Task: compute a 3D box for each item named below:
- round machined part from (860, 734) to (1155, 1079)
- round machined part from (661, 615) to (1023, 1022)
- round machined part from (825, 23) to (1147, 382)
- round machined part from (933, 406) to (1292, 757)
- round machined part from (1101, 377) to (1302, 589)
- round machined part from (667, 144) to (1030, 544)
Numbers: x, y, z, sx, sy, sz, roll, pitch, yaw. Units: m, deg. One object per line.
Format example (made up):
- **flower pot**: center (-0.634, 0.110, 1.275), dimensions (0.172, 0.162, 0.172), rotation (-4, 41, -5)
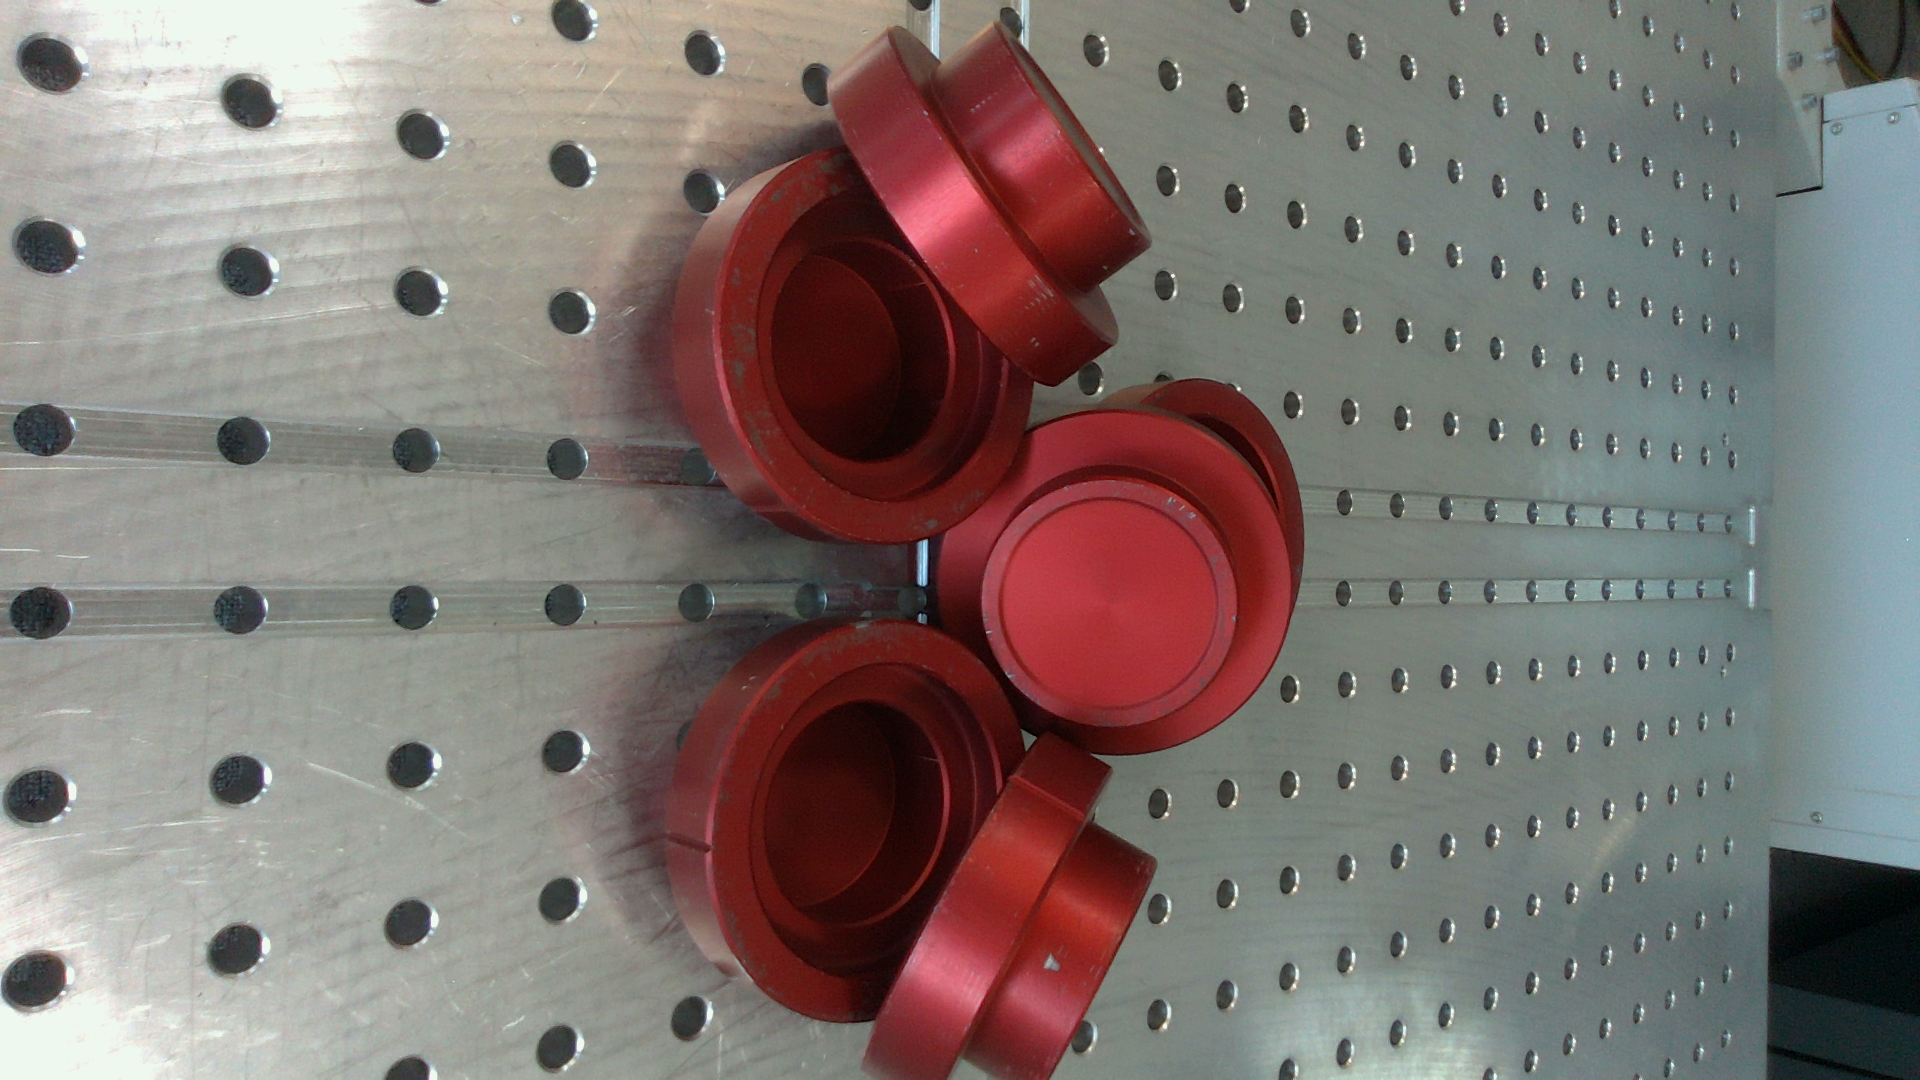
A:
- **round machined part**: center (0.017, 0.103, 0.357), dimensions (0.098, 0.042, 0.098), rotation (-59, 168, -19)
- **round machined part**: center (-0.032, 0.068, 0.353), dimensions (0.098, 0.042, 0.098), rotation (0, 90, -40)
- **round machined part**: center (0.013, -0.092, 0.355), dimensions (0.098, 0.042, 0.098), rotation (49, 17, -20)
- **round machined part**: center (0.041, 0.013, 0.375), dimensions (0.042, 0.098, 0.098), rotation (-55, 135, -77)
- **round machined part**: center (0.060, 0.000, 0.430), dimensions (0.098, 0.042, 0.098), rotation (0, 90, -40)
- **round machined part**: center (-0.031, -0.048, 0.353), dimensions (0.098, 0.042, 0.098), rotation (0, 90, -40)
